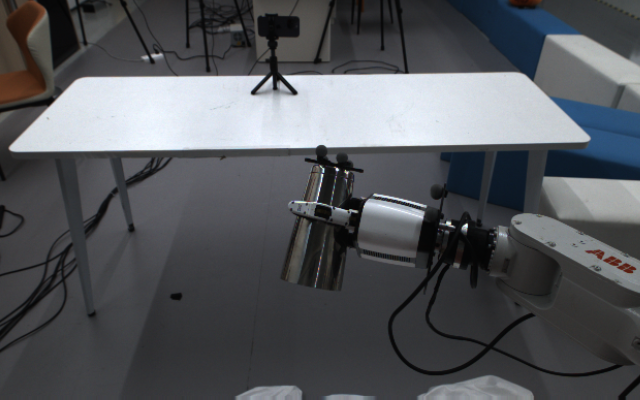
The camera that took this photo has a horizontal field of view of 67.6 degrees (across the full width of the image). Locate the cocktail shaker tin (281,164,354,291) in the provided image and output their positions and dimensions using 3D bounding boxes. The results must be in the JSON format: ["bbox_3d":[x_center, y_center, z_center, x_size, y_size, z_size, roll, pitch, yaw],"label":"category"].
[{"bbox_3d":[0.003,0.039,0.709,0.093,0.170,0.093,11,-5,1],"label":"cocktail shaker tin"}]
